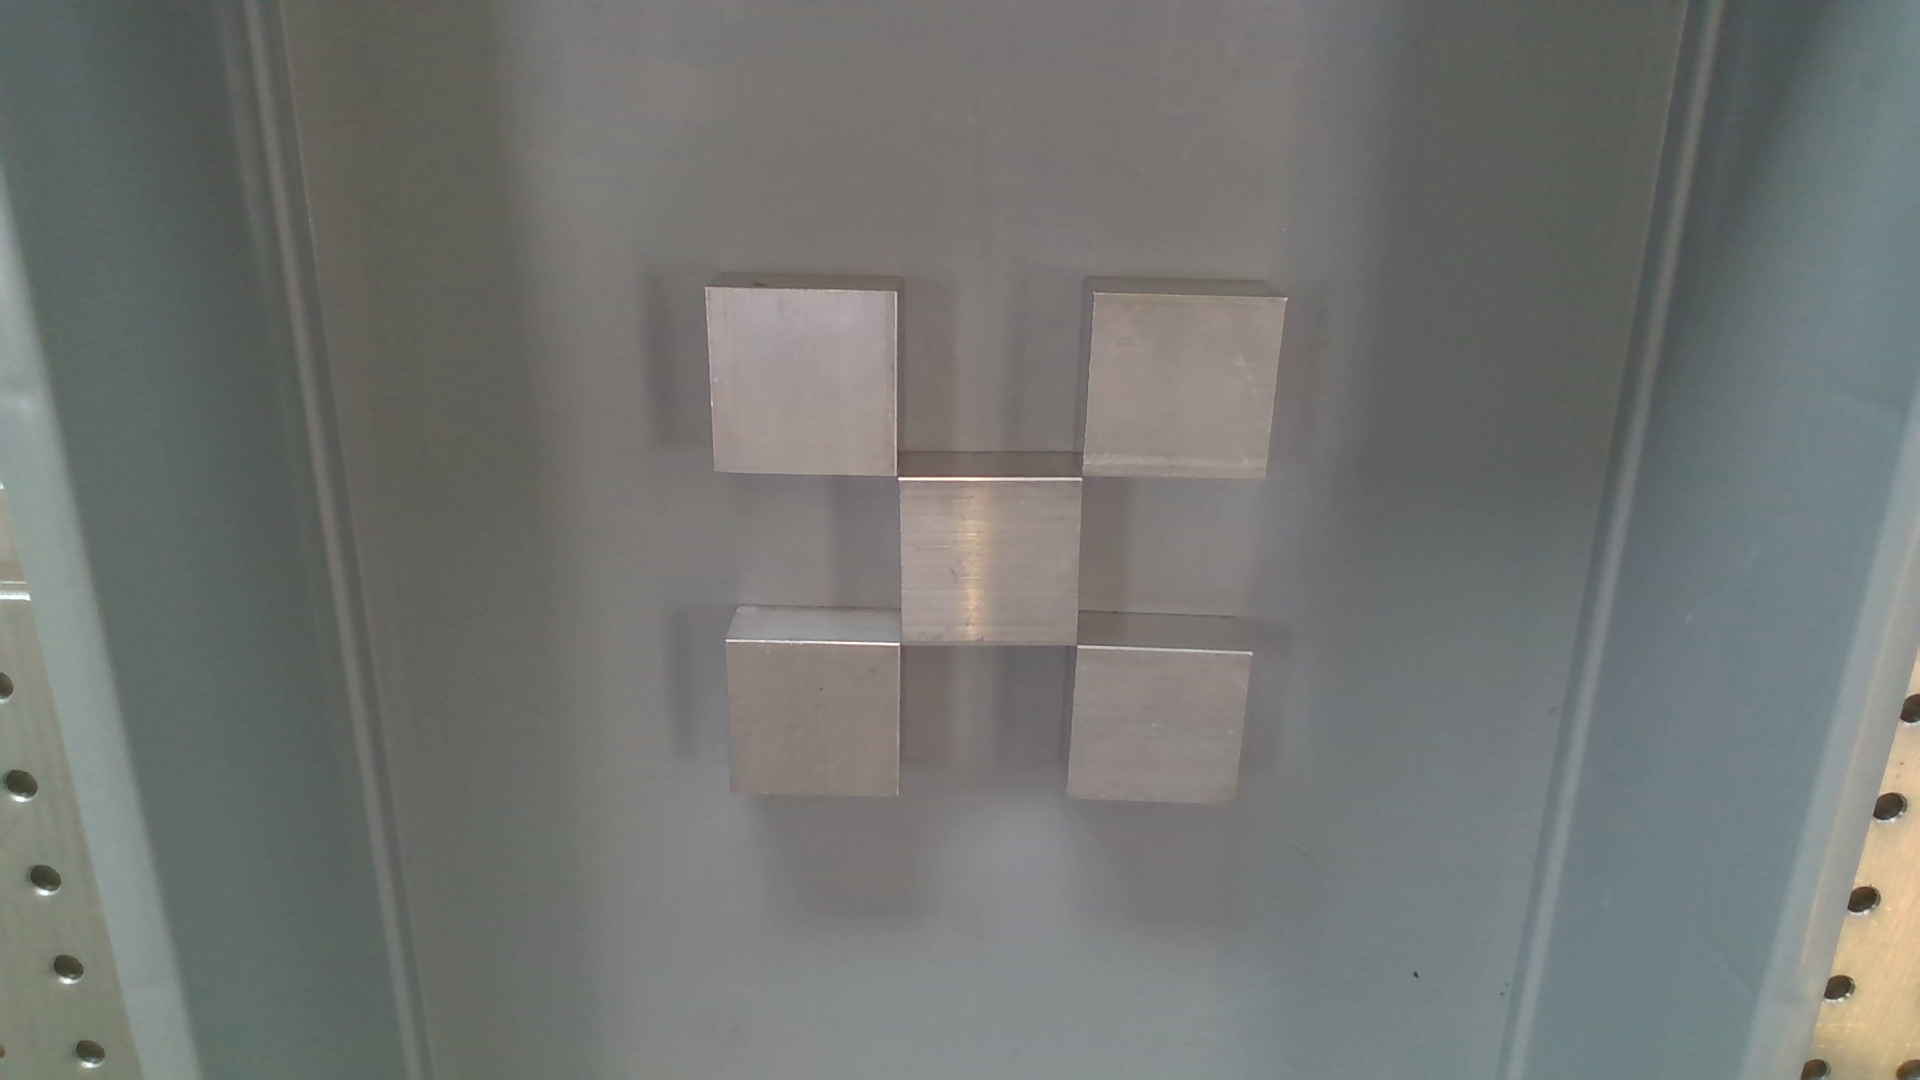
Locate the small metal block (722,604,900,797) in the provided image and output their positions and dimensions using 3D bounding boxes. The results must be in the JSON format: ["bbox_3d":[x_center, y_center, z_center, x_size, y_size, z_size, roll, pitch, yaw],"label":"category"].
[{"bbox_3d":[-0.043,0.047,0.409,0.050,0.025,0.050,1,110,0],"label":"small metal block"}]

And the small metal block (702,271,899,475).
[{"bbox_3d":[-0.042,-0.046,0.375,0.050,0.025,0.050,1,110,0],"label":"small metal block"}]

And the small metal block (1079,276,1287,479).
[{"bbox_3d":[0.059,-0.045,0.375,0.050,0.025,0.050,1,110,-1],"label":"small metal block"}]

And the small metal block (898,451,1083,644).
[{"bbox_3d":[0.008,0.002,0.392,0.050,0.025,0.050,0,110,0],"label":"small metal block"}]

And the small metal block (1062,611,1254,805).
[{"bbox_3d":[0.057,0.050,0.410,0.050,0.025,0.050,2,110,-1],"label":"small metal block"}]
